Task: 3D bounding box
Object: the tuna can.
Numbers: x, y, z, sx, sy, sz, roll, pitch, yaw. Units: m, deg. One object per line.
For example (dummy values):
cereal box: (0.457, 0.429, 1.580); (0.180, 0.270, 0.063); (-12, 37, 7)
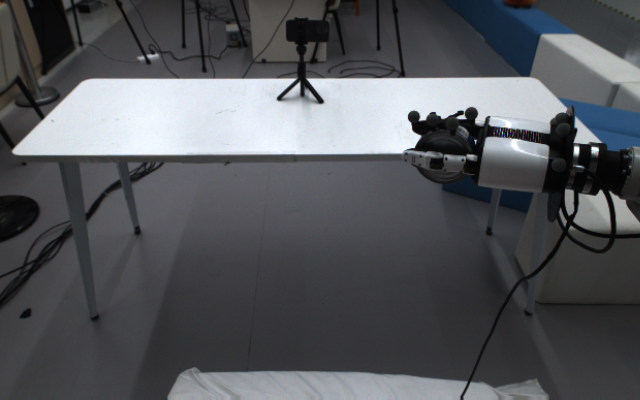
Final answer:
tuna can: (0.183, -0.070, 0.708); (0.085, 0.085, 0.034); (15, 34, 17)
